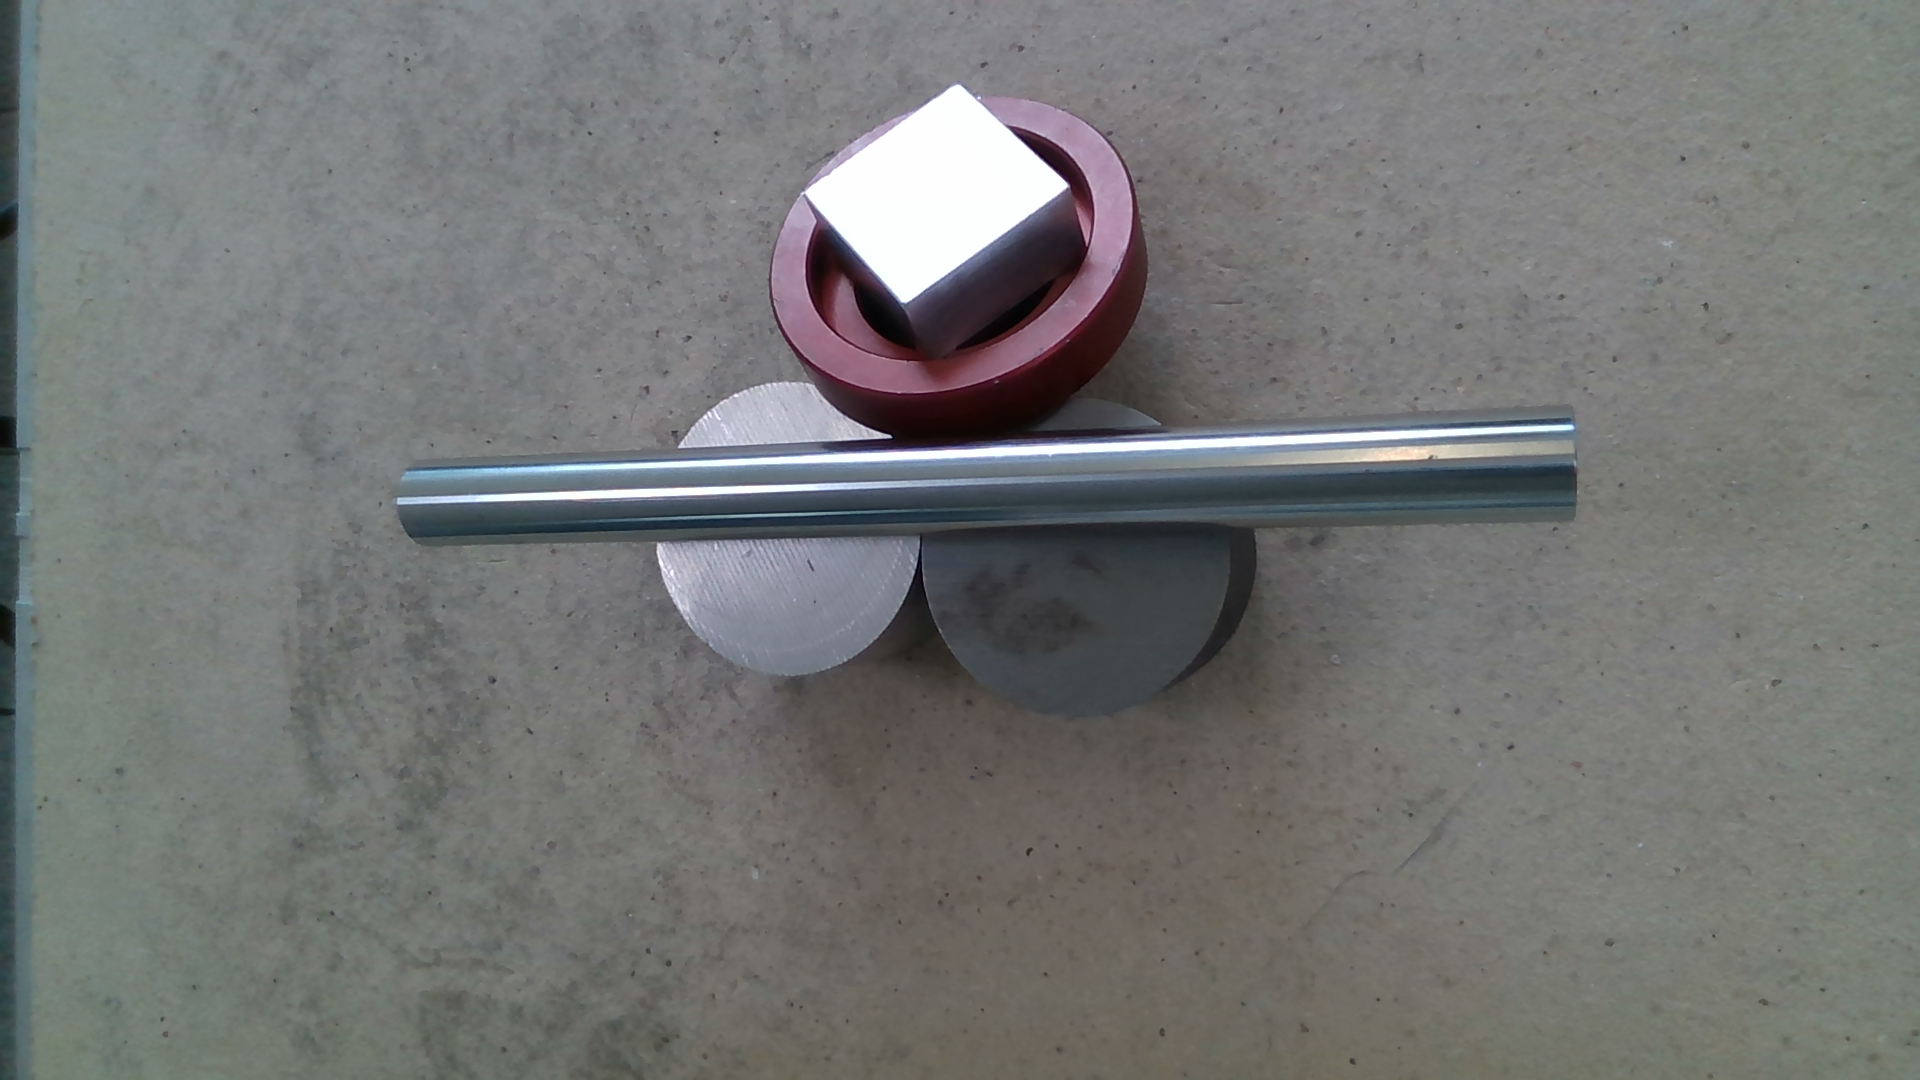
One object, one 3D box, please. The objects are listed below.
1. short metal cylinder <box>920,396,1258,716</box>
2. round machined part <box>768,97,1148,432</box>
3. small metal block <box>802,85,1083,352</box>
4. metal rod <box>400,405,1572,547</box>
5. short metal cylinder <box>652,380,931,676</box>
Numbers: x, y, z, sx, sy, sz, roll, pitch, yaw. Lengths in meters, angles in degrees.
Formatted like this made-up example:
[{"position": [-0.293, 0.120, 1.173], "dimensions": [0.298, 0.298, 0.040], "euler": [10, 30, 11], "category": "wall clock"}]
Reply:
[{"position": [0.036, 0.004, 0.368], "dimensions": [0.080, 0.050, 0.080], "euler": [0, 90, 20], "category": "short metal cylinder"}, {"position": [0.002, -0.068, 0.370], "dimensions": [0.098, 0.042, 0.098], "euler": [-8, 59, 13], "category": "round machined part"}, {"position": [-0.004, -0.081, 0.352], "dimensions": [0.050, 0.025, 0.050], "euler": [-36, 58, -5], "category": "small metal block"}, {"position": [-0.011, -0.013, 0.345], "dimensions": [0.300, 0.025, 0.025], "euler": [-1, 90, 20], "category": "metal rod"}, {"position": [-0.040, -0.003, 0.395], "dimensions": [0.080, 0.050, 0.080], "euler": [0, 90, 19], "category": "short metal cylinder"}]
